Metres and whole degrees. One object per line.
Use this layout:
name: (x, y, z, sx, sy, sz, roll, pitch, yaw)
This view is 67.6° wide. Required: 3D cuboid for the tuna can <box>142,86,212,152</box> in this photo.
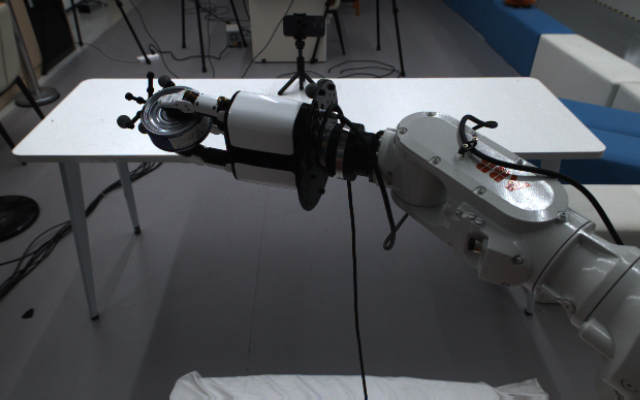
tuna can: (-0.185, -0.106, 0.632, 0.085, 0.034, 0.085, -1, 63, 2)
